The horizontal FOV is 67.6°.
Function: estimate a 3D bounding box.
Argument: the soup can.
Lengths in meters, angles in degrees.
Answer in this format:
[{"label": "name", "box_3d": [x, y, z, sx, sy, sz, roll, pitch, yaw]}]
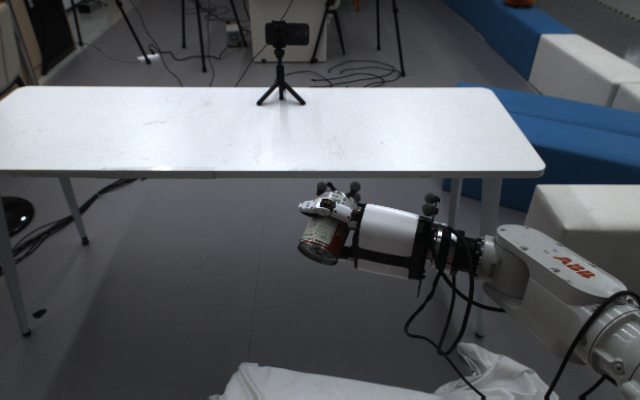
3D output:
[{"label": "soup can", "box_3d": [0.015, 0.043, 0.769, 0.067, 0.067, 0.101, 15, 63, 18]}]
